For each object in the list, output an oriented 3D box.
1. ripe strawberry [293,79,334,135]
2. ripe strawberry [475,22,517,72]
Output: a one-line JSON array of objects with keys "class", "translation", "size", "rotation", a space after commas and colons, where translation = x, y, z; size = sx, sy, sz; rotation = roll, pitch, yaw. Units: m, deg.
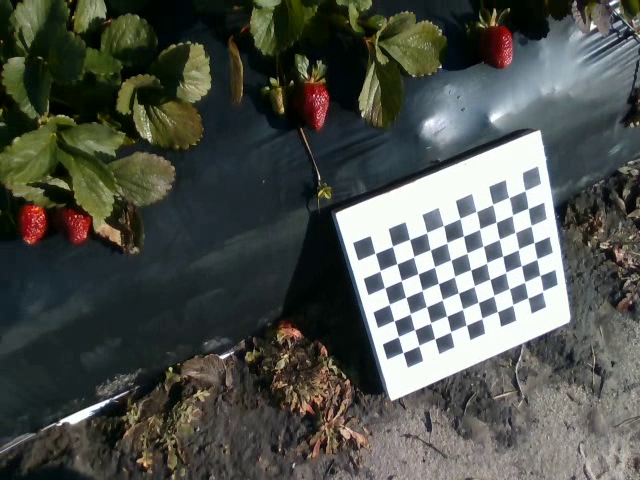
[{"class": "ripe strawberry", "translation": [-0.006, -0.131, 0.593], "size": [0.041, 0.053, 0.043], "rotation": [-11, -26, -17]}, {"class": "ripe strawberry", "translation": [0.190, -0.190, 0.626], "size": [0.042, 0.050, 0.043], "rotation": [14, -38, -23]}]
